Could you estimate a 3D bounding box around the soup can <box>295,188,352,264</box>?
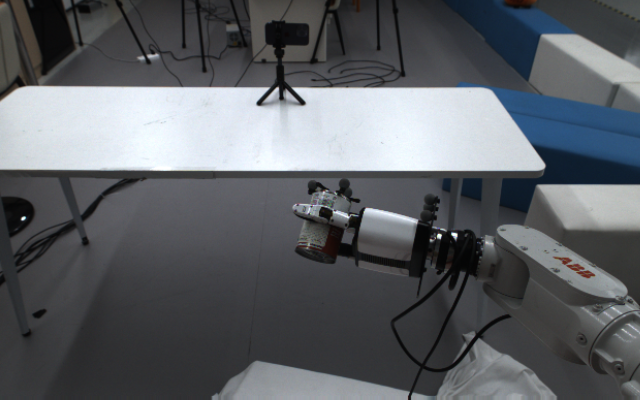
[{"bbox_3d":[0.007,0.043,0.769,0.067,0.067,0.101,12,70,14],"label":"soup can"}]
